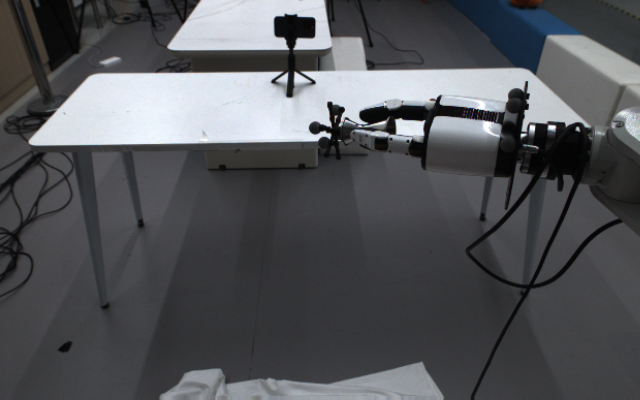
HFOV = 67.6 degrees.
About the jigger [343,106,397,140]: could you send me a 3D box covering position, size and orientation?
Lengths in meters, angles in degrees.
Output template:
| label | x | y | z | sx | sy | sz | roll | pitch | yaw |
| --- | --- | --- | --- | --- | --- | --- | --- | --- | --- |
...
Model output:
| label | x | y | z | sx | sy | sz | roll | pitch | yaw |
| --- | --- | --- | --- | --- | --- | --- | --- | --- | --- |
| jigger | 0.074 | -0.101 | 0.673 | 0.071 | 0.043 | 0.043 | 3 | 32 | 26 |
